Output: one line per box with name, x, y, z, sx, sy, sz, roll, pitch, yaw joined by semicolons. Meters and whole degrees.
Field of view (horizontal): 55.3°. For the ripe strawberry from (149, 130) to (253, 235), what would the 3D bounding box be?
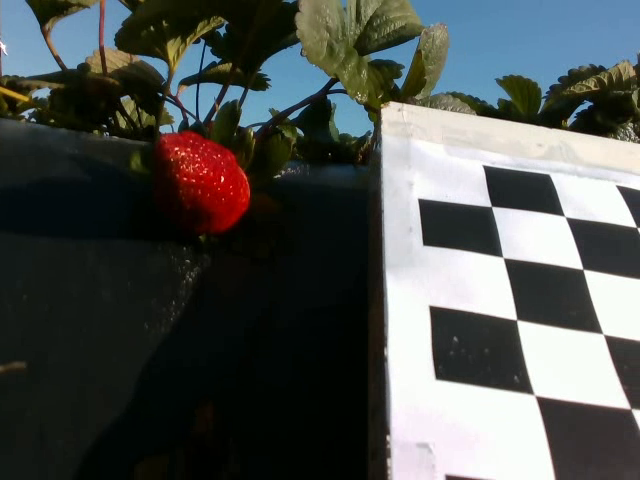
ripe strawberry;-0.015;-0.008;0.074;0.015;0.015;0.023;15;-9;3
